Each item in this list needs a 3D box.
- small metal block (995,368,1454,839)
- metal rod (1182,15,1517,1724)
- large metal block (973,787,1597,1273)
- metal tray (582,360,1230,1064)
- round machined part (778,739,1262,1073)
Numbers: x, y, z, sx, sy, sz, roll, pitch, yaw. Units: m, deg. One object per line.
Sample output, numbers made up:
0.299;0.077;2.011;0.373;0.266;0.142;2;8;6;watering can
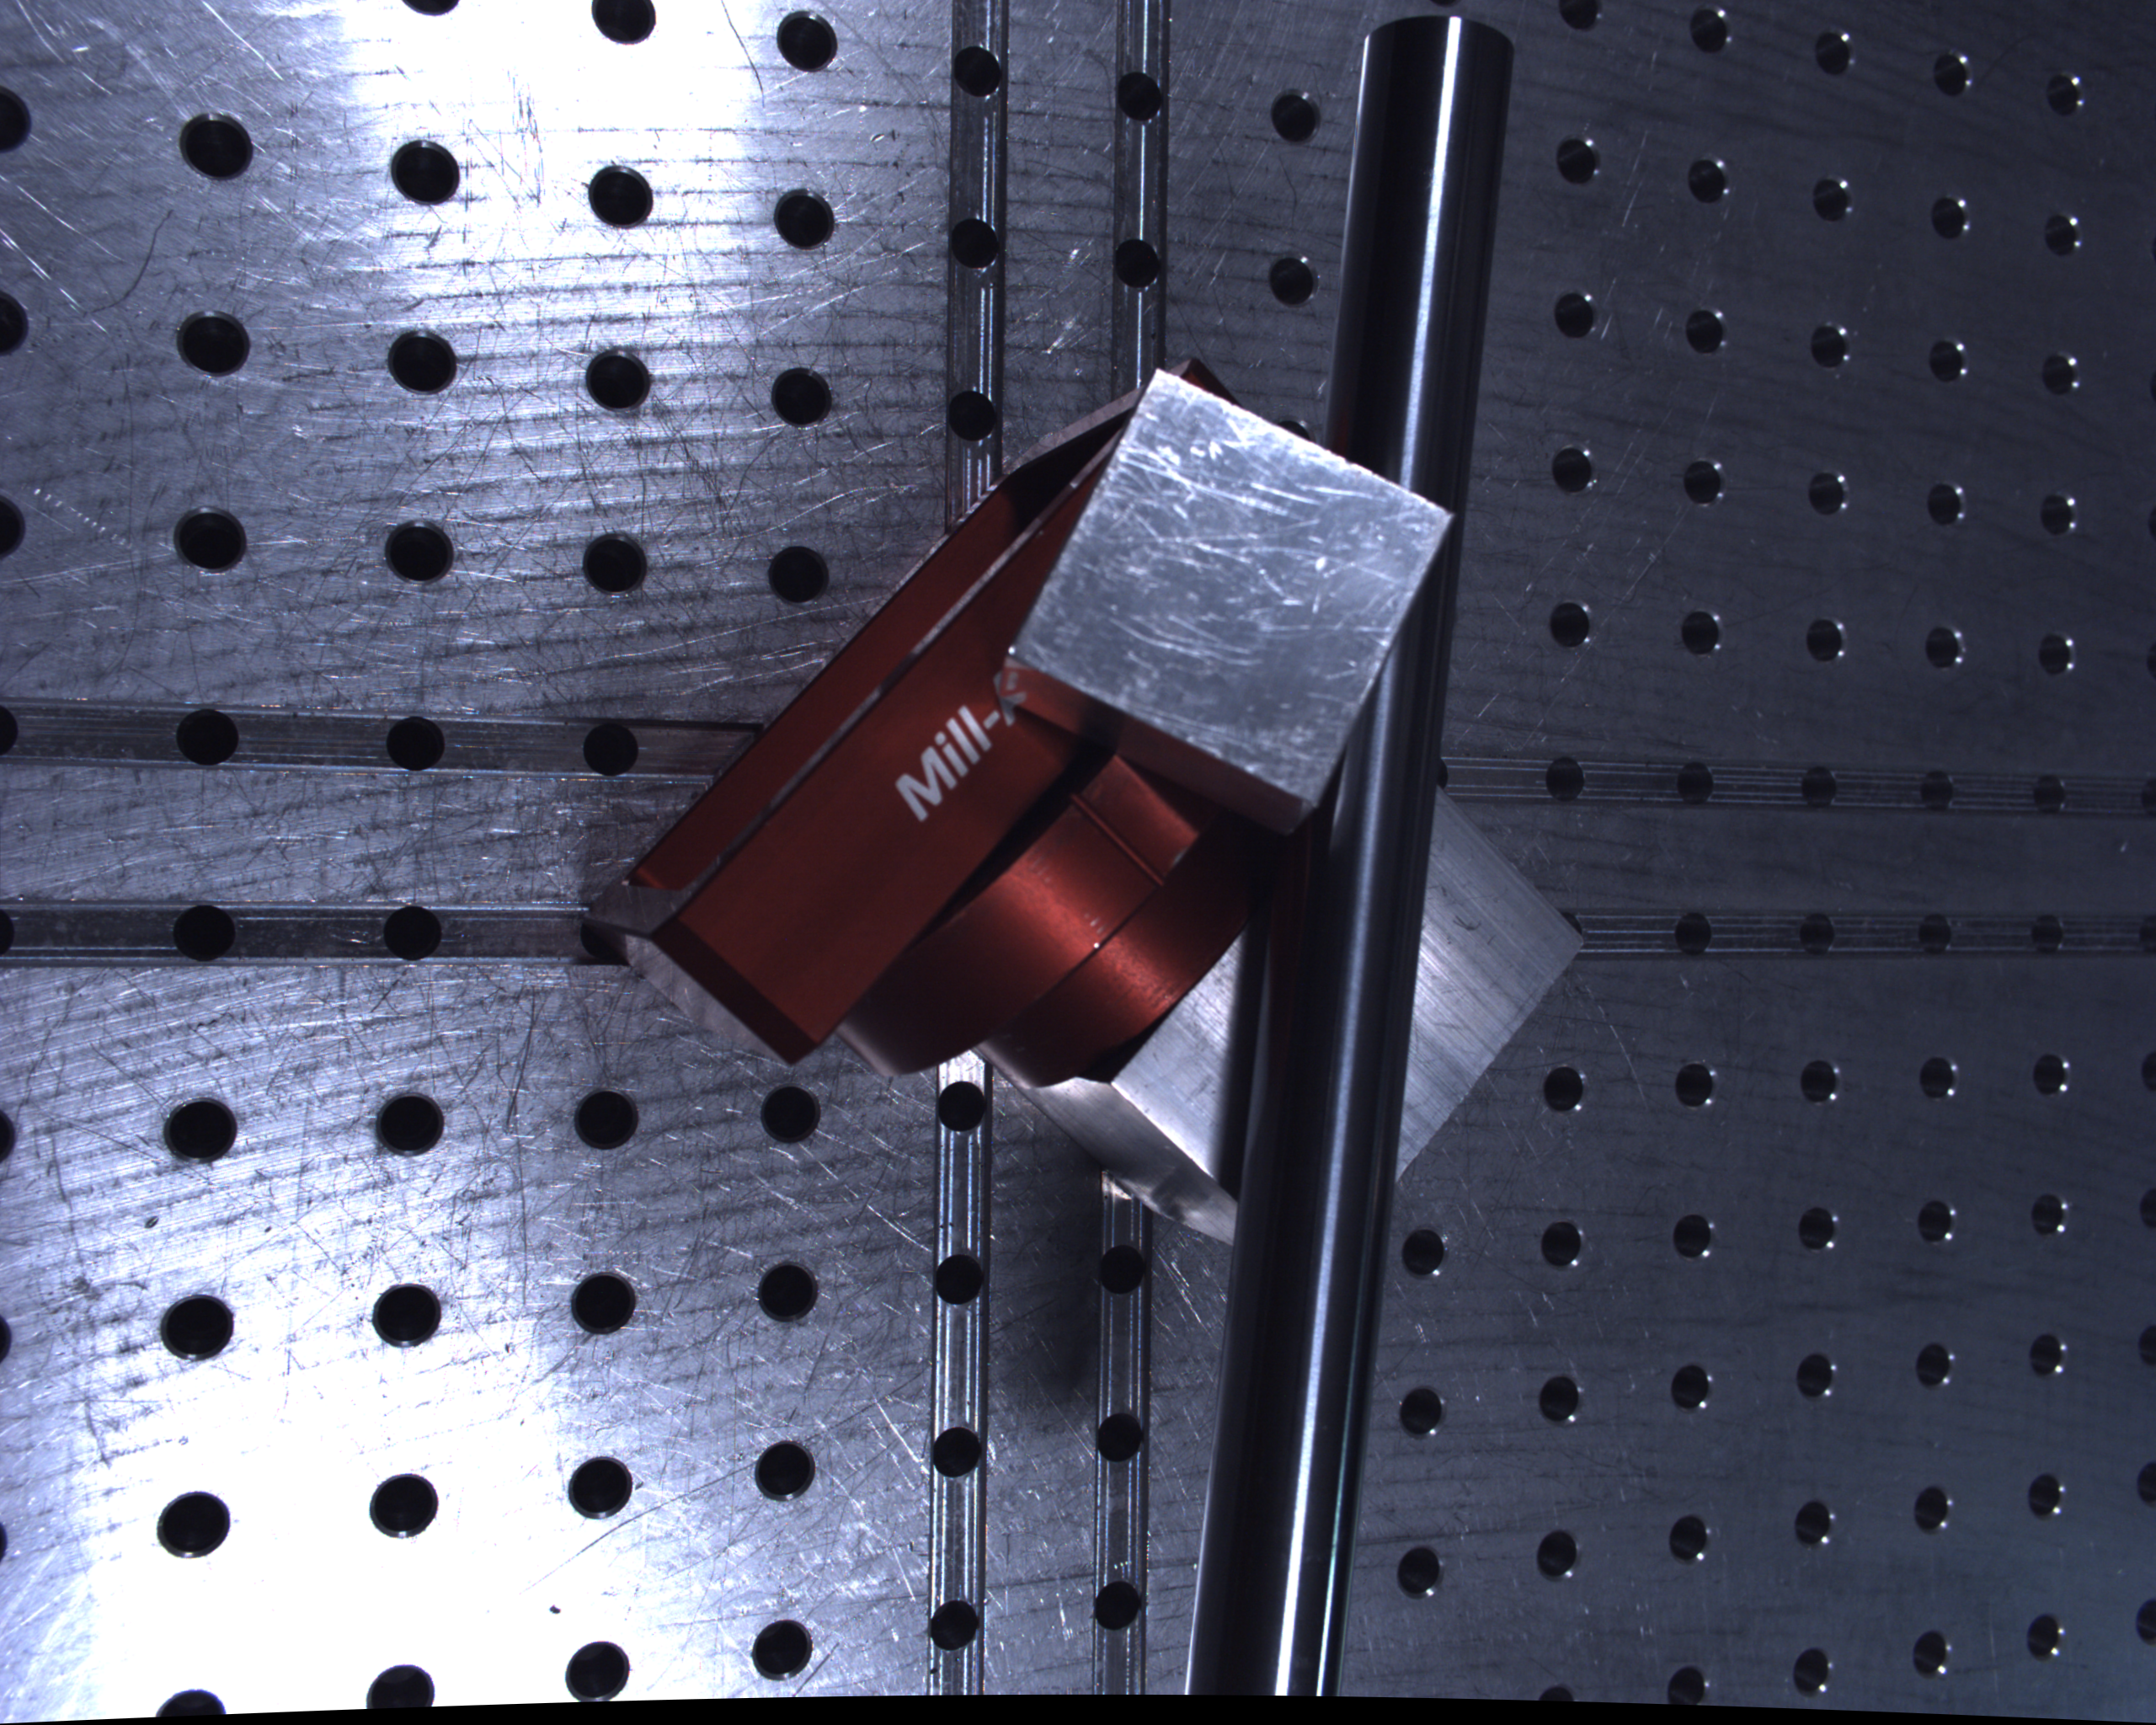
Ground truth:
0.021;-0.039;0.317;0.050;0.025;0.050;26;79;0;small metal block
0.044;0.011;0.345;0.025;0.025;0.298;7;88;-20;metal rod
0.036;0.027;0.395;0.050;0.080;0.080;45;76;-15;large metal block
-0.027;-0.026;0.369;0.030;0.090;0.130;45;76;-15;metal tray
-0.005;-0.001;0.377;0.042;0.098;0.098;44;76;-15;round machined part
